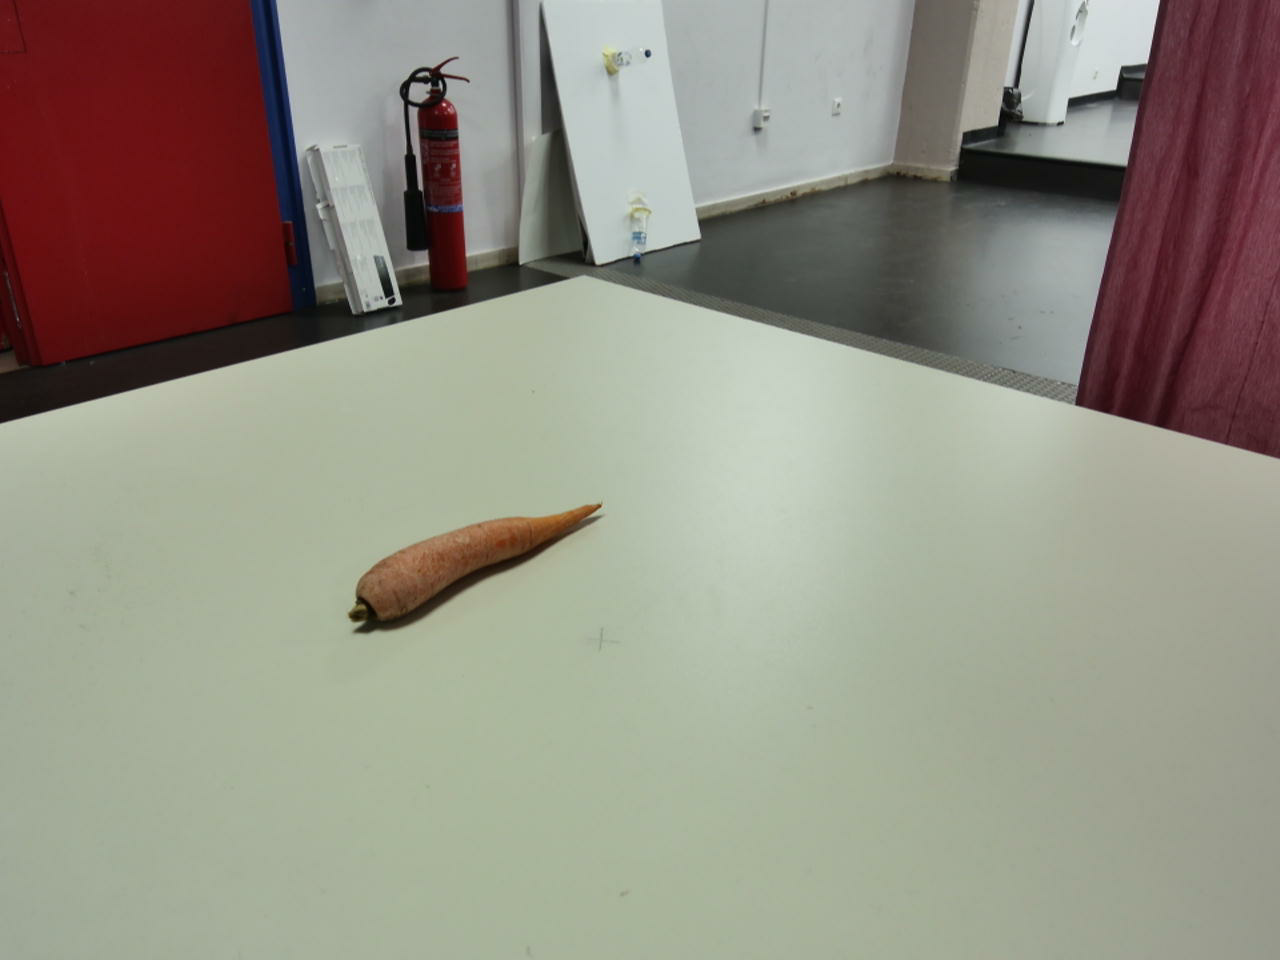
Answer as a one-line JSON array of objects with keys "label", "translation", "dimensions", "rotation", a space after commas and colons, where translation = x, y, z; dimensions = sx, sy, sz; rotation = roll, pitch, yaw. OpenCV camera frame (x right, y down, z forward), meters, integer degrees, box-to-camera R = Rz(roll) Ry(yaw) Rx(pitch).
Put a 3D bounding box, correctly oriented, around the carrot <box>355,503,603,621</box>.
[{"label": "carrot", "translation": [-0.082, 0.034, 0.528], "dimensions": [0.031, 0.029, 0.163], "rotation": [21, 32, 37]}]
